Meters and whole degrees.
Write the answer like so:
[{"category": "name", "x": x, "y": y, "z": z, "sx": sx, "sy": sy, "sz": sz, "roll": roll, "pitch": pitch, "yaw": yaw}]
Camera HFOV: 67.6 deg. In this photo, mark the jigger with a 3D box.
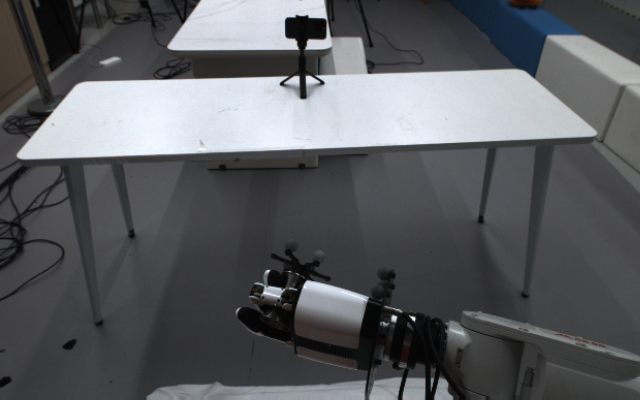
[{"category": "jigger", "x": -0.044, "y": 0.130, "z": 0.637, "sx": 0.043, "sy": 0.043, "sz": 0.071, "roll": 15, "pitch": 58, "yaw": 18}]
